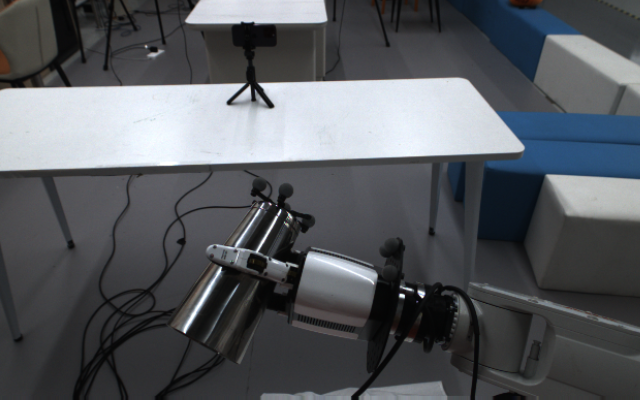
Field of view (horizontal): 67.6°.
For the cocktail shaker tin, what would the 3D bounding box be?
[{"bbox_3d":[-0.087,0.087,0.556,0.093,0.093,0.170,18,66,21],"label":"cocktail shaker tin"}]
